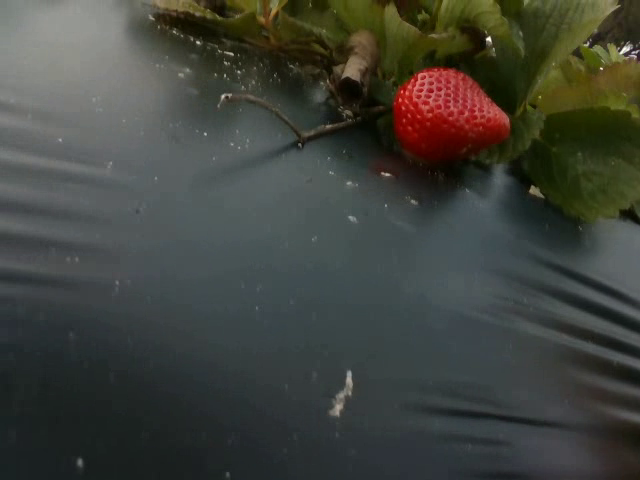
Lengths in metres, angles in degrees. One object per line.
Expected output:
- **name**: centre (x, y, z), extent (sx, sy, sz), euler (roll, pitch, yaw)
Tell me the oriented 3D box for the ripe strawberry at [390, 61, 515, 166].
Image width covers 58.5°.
- **ripe strawberry**: centre (0.044, -0.043, 0.181), extent (0.037, 0.036, 0.046), euler (-36, 42, -20)
